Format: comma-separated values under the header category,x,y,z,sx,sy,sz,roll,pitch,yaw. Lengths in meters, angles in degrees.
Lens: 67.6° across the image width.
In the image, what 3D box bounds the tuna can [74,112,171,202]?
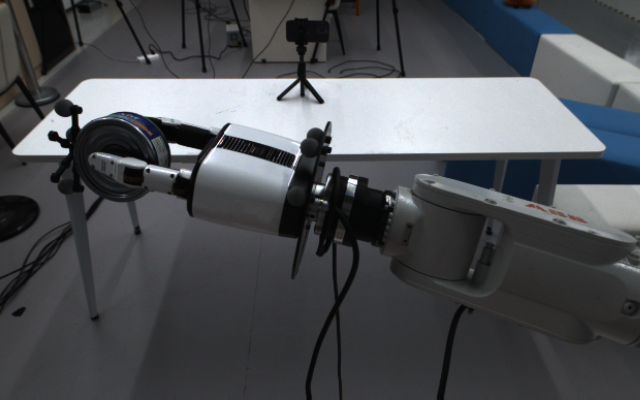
category,x,y,z,sx,sy,sz,roll,pitch,yaw
tuna can,-0.192,-0.042,0.479,0.085,0.085,0.034,4,19,3
